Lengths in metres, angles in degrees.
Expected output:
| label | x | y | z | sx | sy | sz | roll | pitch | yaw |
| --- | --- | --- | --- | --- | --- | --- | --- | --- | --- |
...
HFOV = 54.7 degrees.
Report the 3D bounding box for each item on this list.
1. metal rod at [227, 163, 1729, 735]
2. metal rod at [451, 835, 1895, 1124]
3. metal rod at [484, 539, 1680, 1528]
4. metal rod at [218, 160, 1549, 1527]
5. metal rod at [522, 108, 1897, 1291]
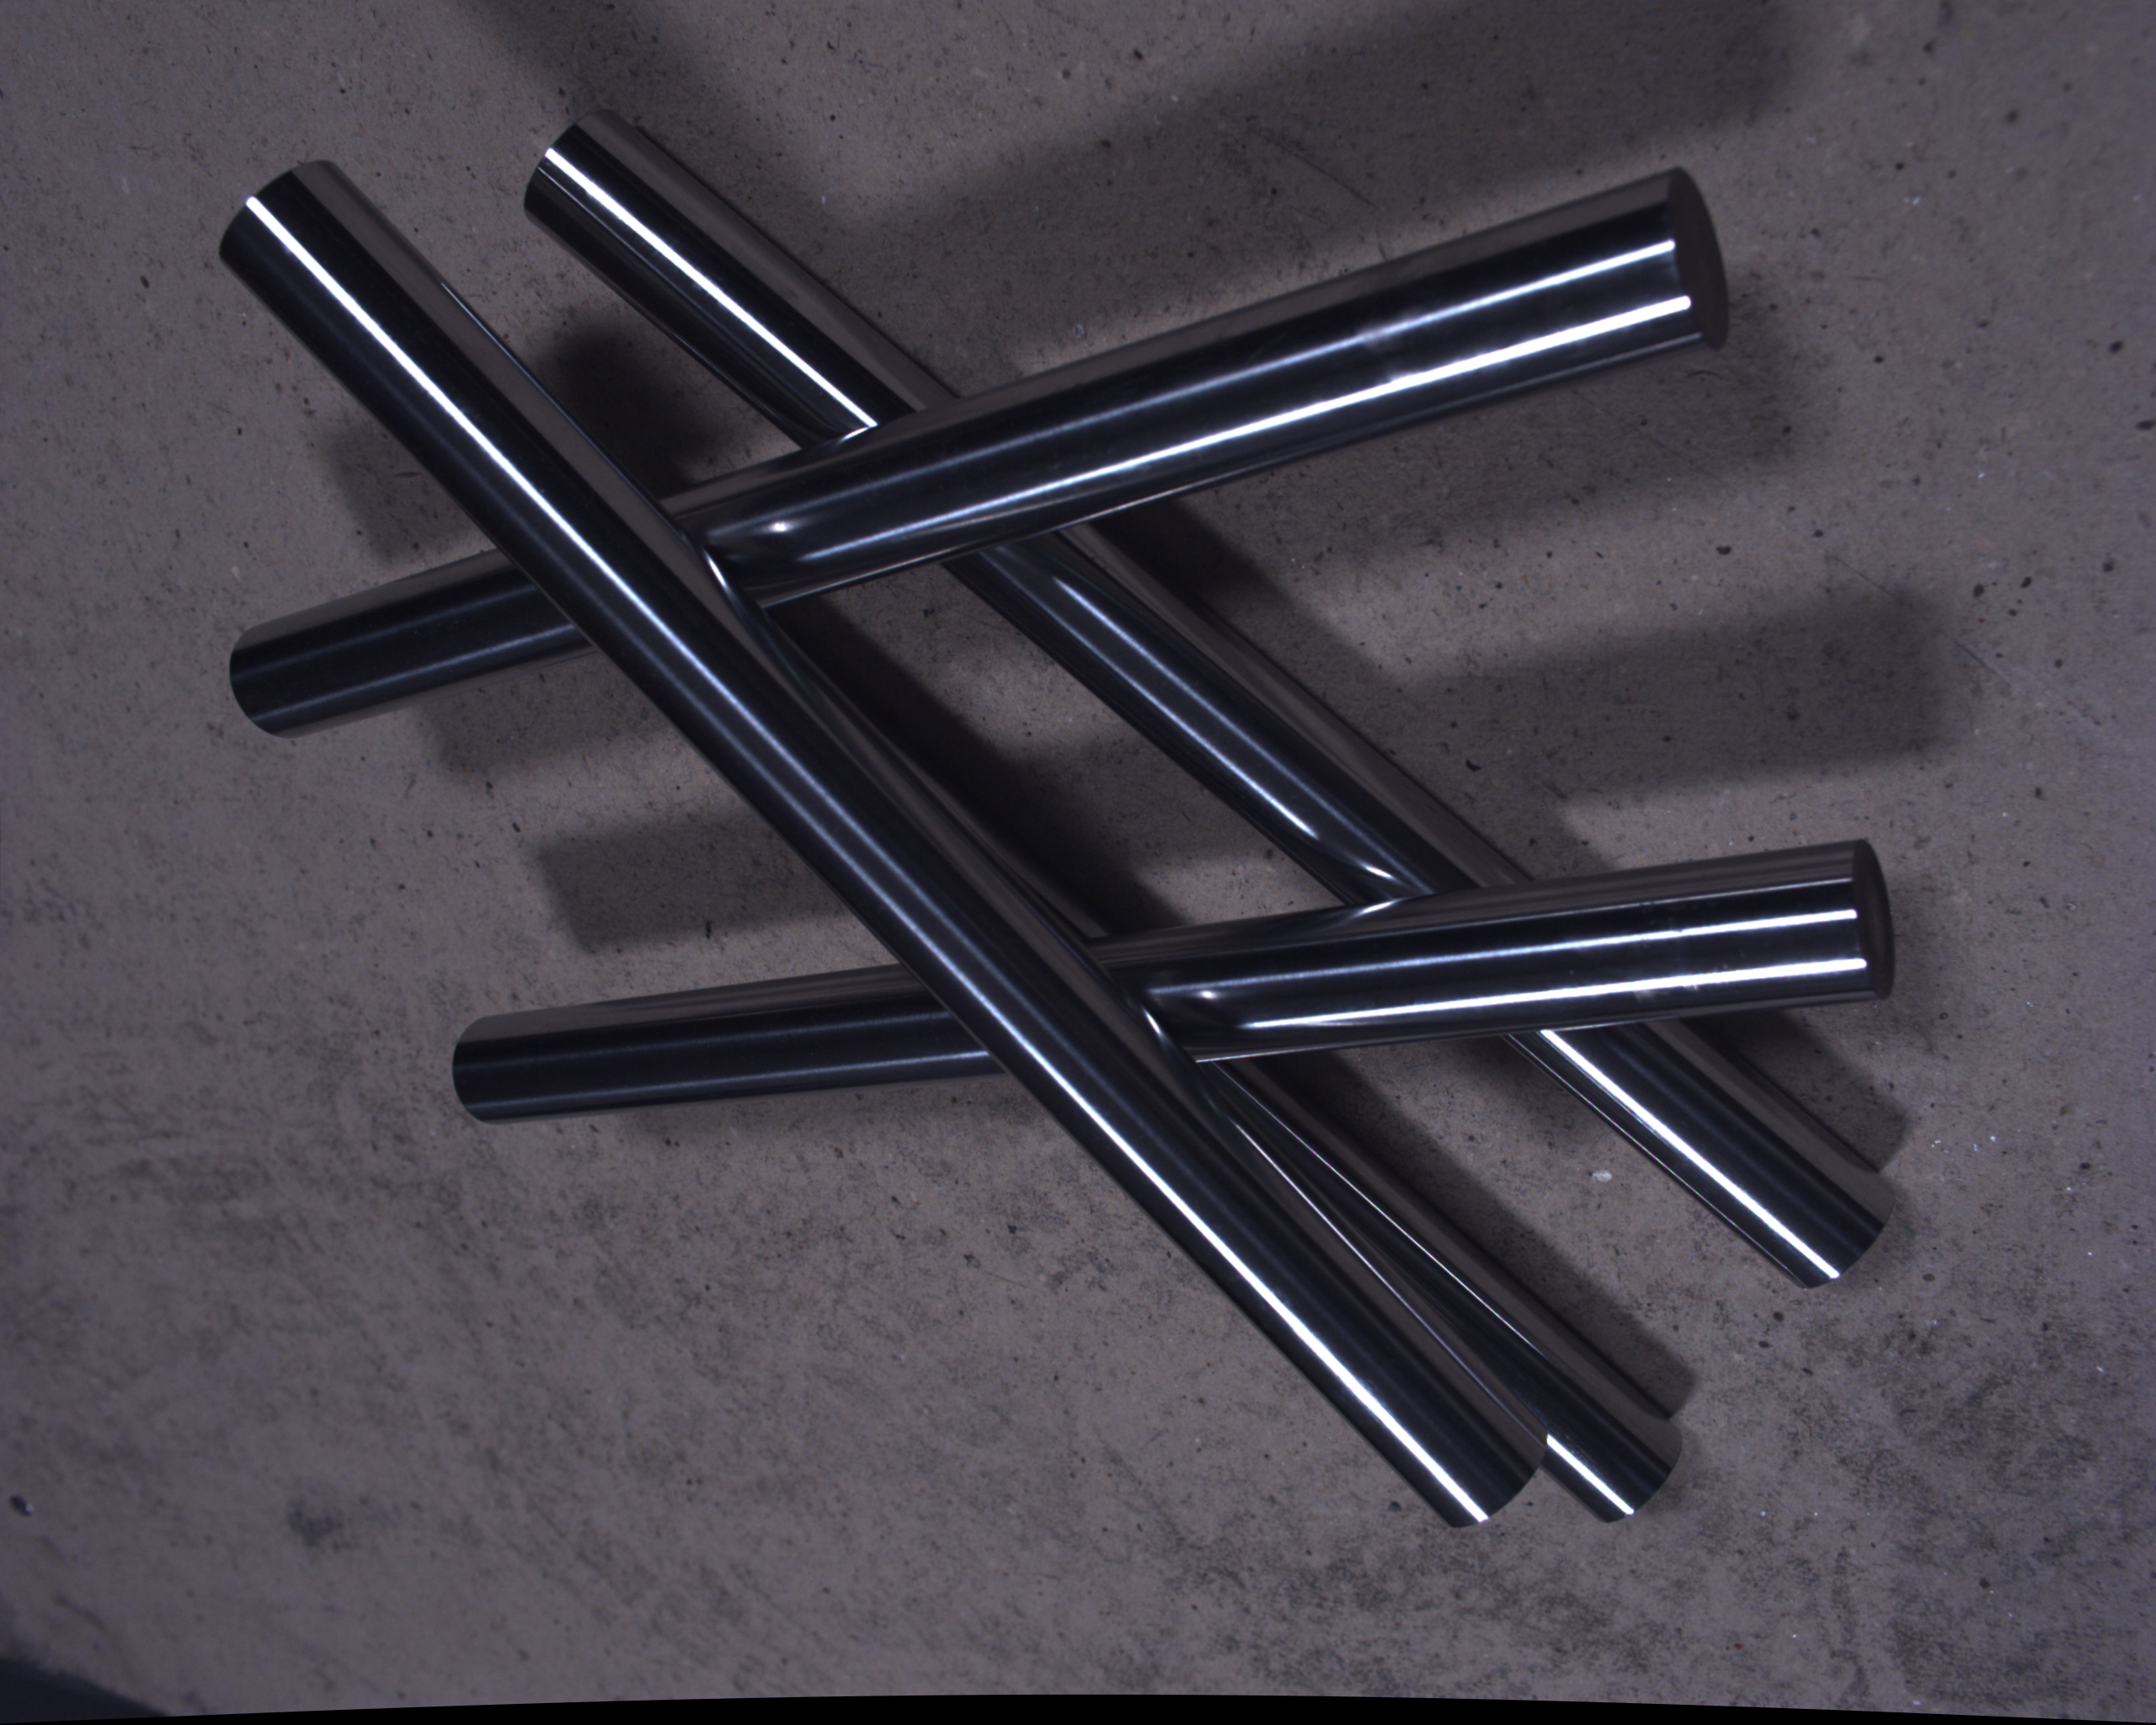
| label | x | y | z | sx | sy | sz | roll | pitch | yaw |
| --- | --- | --- | --- | --- | --- | --- | --- | --- | --- |
| metal rod | -0.042 | -0.060 | 0.360 | 0.300 | 0.025 | 0.025 | -10 | 114 | 32 |
| metal rod | -0.005 | 0.028 | 0.395 | 0.300 | 0.025 | 0.025 | -9 | 114 | 31 |
| metal rod | 0.001 | 0.026 | 0.421 | 0.300 | 0.025 | 0.025 | 42 | 129 | -1 |
| metal rod | -0.029 | 0.001 | 0.358 | 0.300 | 0.025 | 0.025 | 46 | 129 | -5 |
| metal rod | 0.023 | -0.029 | 0.376 | 0.300 | 0.025 | 0.025 | 40 | 129 | 0 |
